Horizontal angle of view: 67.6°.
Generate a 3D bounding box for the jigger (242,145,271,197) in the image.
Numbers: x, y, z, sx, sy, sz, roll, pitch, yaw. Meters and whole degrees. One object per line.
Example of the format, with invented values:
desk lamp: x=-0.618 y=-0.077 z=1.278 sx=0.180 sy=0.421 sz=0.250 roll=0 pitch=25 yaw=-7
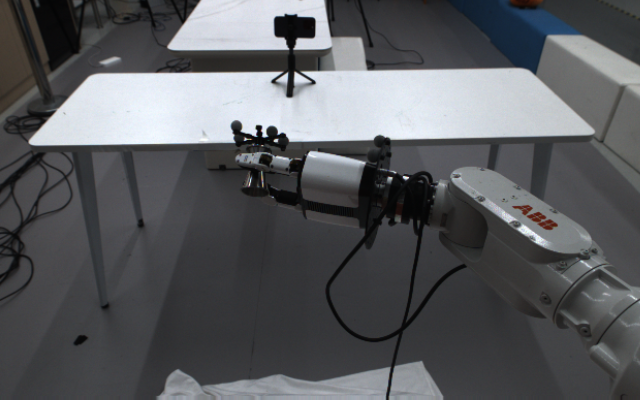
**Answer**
jigger: x=-0.095 y=-0.044 z=0.719 sx=0.043 sy=0.043 sz=0.071 roll=3 pitch=72 yaw=1
